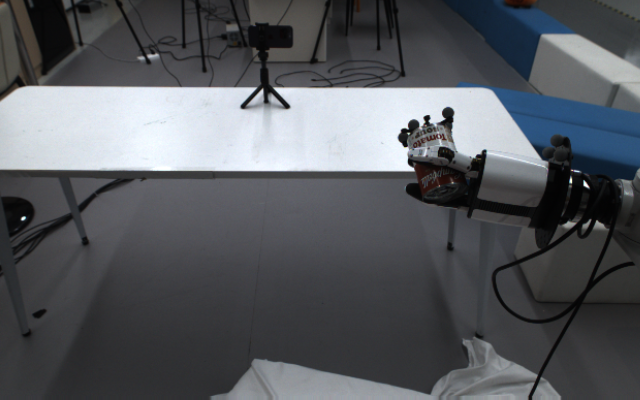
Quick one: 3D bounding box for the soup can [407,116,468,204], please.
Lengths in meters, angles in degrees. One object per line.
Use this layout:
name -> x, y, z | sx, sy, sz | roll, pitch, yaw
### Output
soup can -> 0.175, -0.055, 0.719 | 0.067, 0.067, 0.101 | -8, 68, -14
